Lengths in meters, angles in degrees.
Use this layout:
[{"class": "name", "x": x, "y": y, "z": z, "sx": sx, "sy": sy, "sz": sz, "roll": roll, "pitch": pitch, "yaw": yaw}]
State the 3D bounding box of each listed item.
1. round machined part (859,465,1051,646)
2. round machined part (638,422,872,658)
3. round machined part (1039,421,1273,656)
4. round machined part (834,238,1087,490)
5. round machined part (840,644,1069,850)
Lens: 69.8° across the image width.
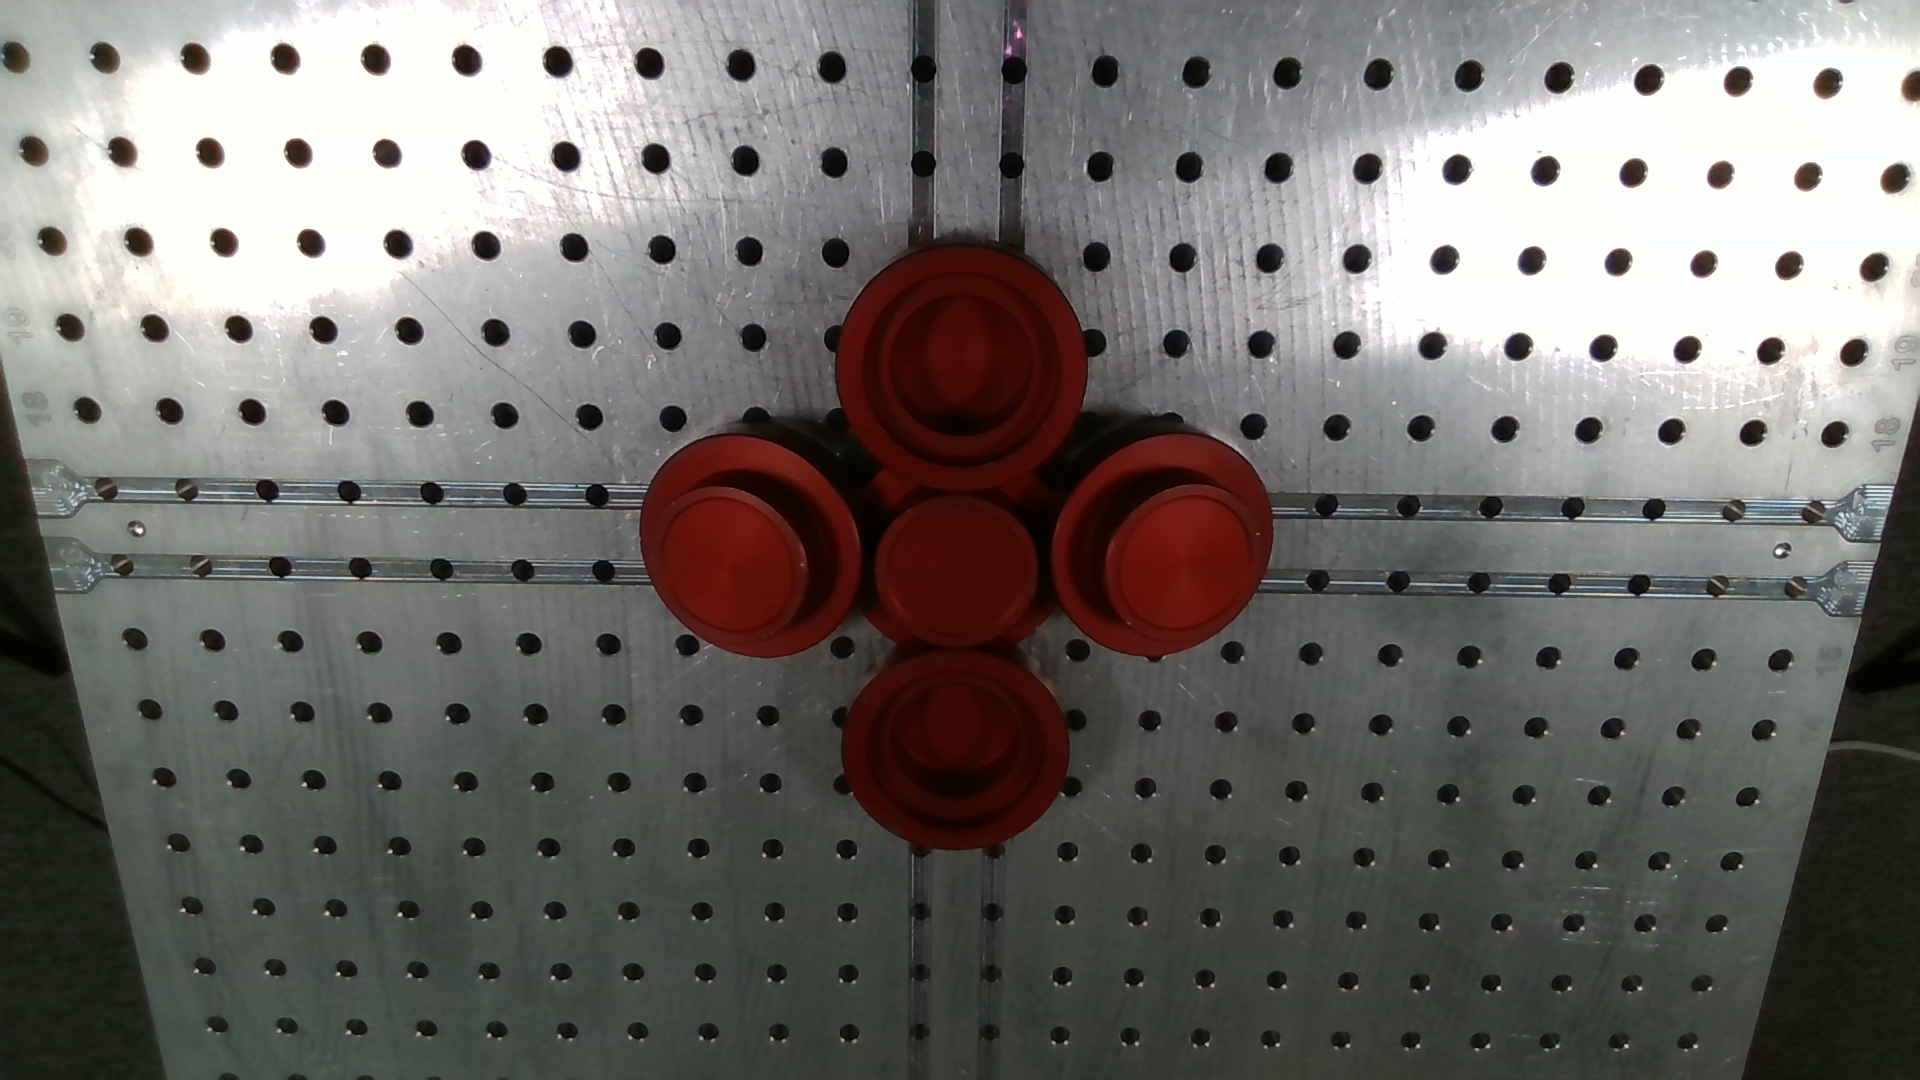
[{"class": "round machined part", "x": -0.002, "y": 0.005, "z": 0.579, "sx": 0.098, "sy": 0.042, "sz": 0.098, "roll": 0, "pitch": 110, "yaw": 0}, {"class": "round machined part", "x": -0.088, "y": 0.004, "z": 0.567, "sx": 0.098, "sy": 0.042, "sz": 0.098, "roll": 5, "pitch": 111, "yaw": 14}, {"class": "round machined part", "x": 0.085, "y": 0.003, "z": 0.567, "sx": 0.098, "sy": 0.042, "sz": 0.098, "roll": -5, "pitch": 109, "yaw": -14}, {"class": "round machined part", "x": 0.000, "y": -0.073, "z": 0.551, "sx": 0.098, "sy": 0.042, "sz": 0.098, "roll": 0, "pitch": 110, "yaw": 0}, {"class": "round machined part", "x": -0.002, "y": 0.084, "z": 0.609, "sx": 0.098, "sy": 0.042, "sz": 0.098, "roll": 0, "pitch": 110, "yaw": 0}]
